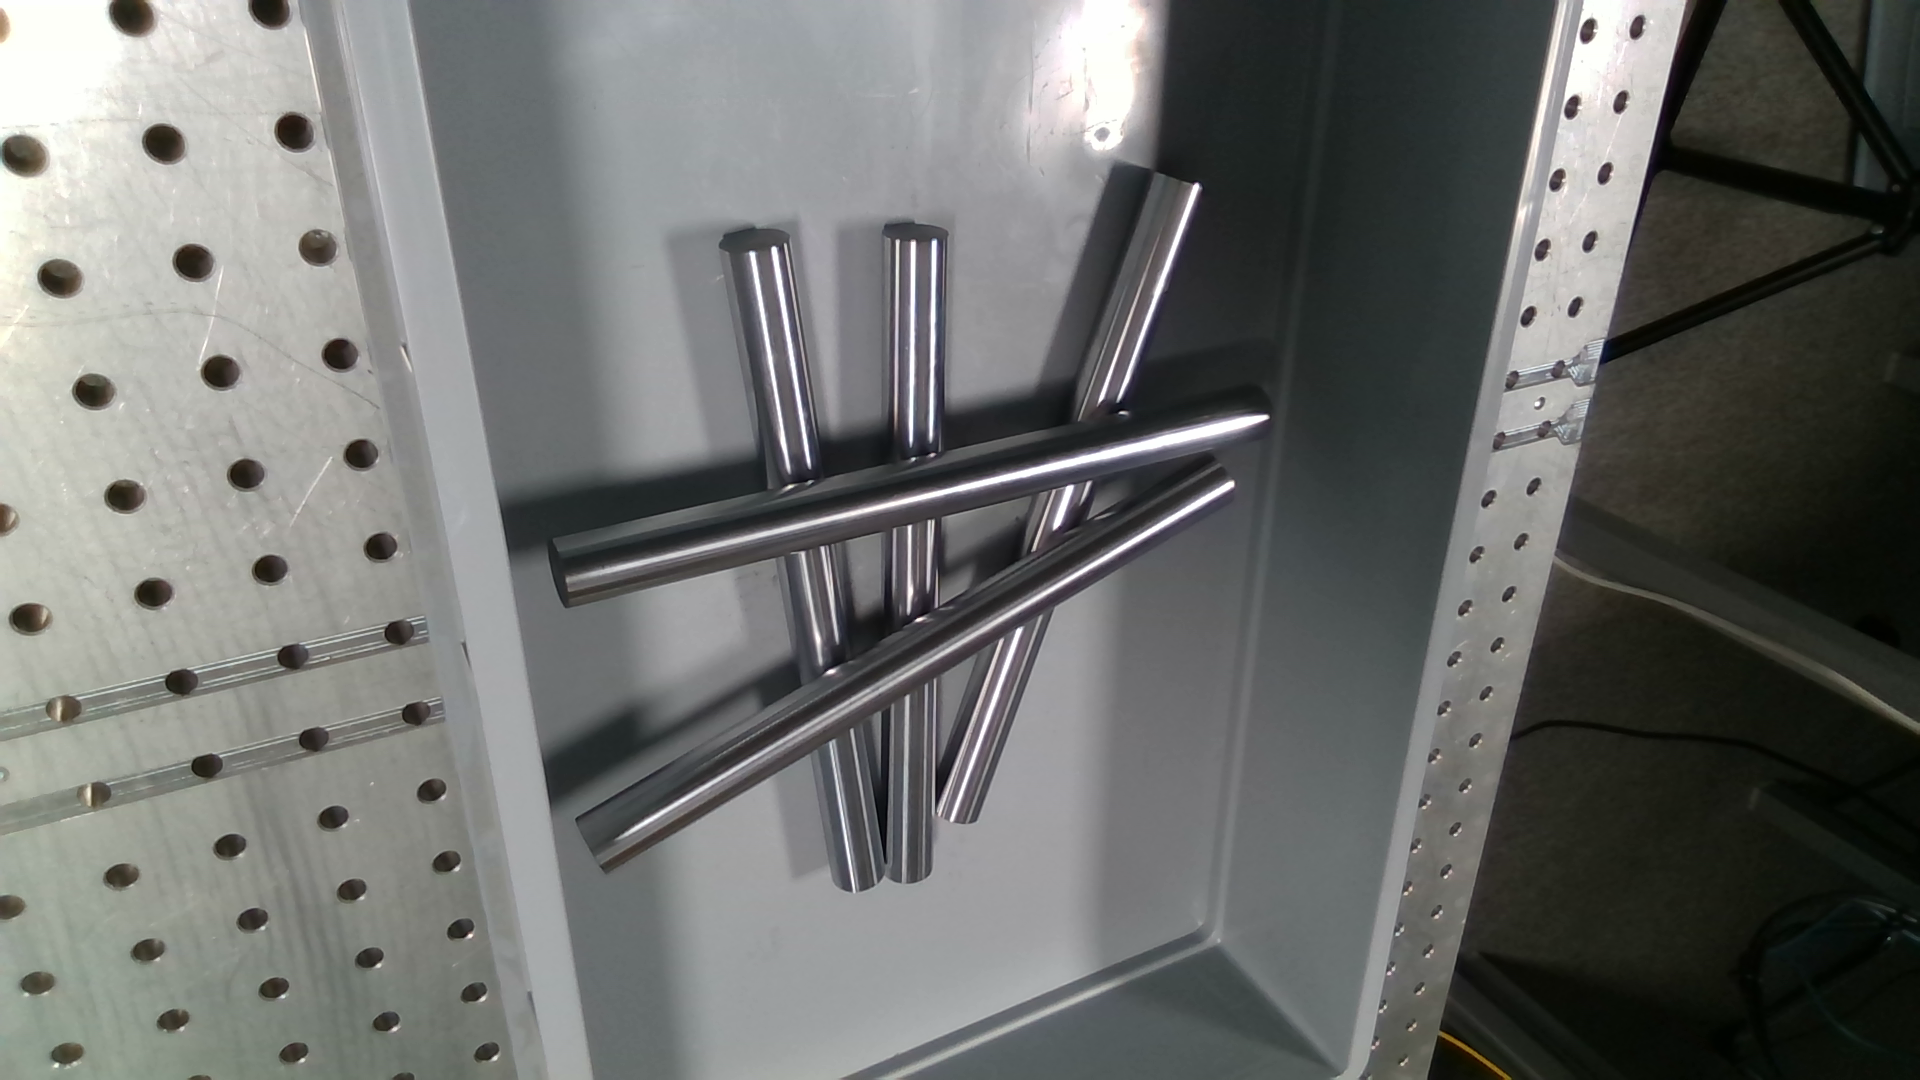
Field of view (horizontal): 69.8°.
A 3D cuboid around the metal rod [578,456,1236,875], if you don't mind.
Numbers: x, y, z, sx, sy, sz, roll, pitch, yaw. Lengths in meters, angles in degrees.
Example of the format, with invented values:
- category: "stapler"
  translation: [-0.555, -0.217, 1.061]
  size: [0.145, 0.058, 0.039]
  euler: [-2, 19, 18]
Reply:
- category: "metal rod"
  translation: [-0.014, 0.045, 0.563]
  size: [0.300, 0.025, 0.025]
  euler: [-30, 127, -15]

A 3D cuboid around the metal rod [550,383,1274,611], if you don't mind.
- category: "metal rod"
  translation: [-0.004, -0.022, 0.532]
  size: [0.300, 0.025, 0.025]
  euler: [-14, 121, -25]

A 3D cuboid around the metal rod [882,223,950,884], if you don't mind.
- category: "metal rod"
  translation: [-0.021, 0.020, 0.577]
  size: [0.025, 0.025, 0.301]
  euler: [-13, 121, -26]

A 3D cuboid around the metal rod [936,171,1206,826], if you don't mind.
- category: "metal rod"
  translation: [0.042, -0.009, 0.600]
  size: [0.025, 0.025, 0.301]
  euler: [6, 111, -34]

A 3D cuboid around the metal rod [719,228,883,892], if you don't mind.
- category: "metal rod"
  translation: [-0.059, 0.024, 0.556]
  size: [0.025, 0.025, 0.301]
  euler: [-19, 123, -22]
